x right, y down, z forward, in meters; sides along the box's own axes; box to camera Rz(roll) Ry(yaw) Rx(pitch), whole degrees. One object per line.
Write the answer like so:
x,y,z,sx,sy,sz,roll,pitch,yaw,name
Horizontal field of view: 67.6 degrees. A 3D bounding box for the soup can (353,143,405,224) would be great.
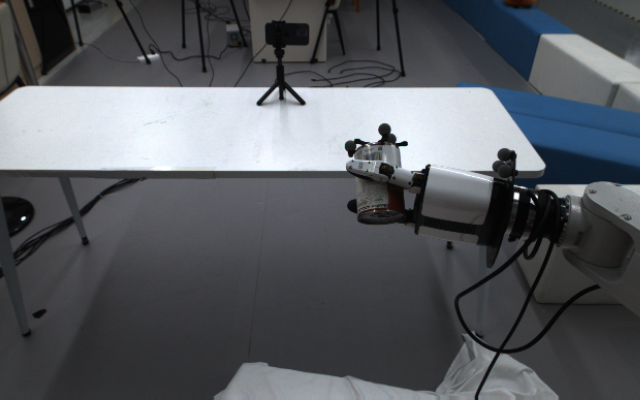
0.086,-0.023,0.682,0.067,0.067,0.101,-1,71,-5,soup can
